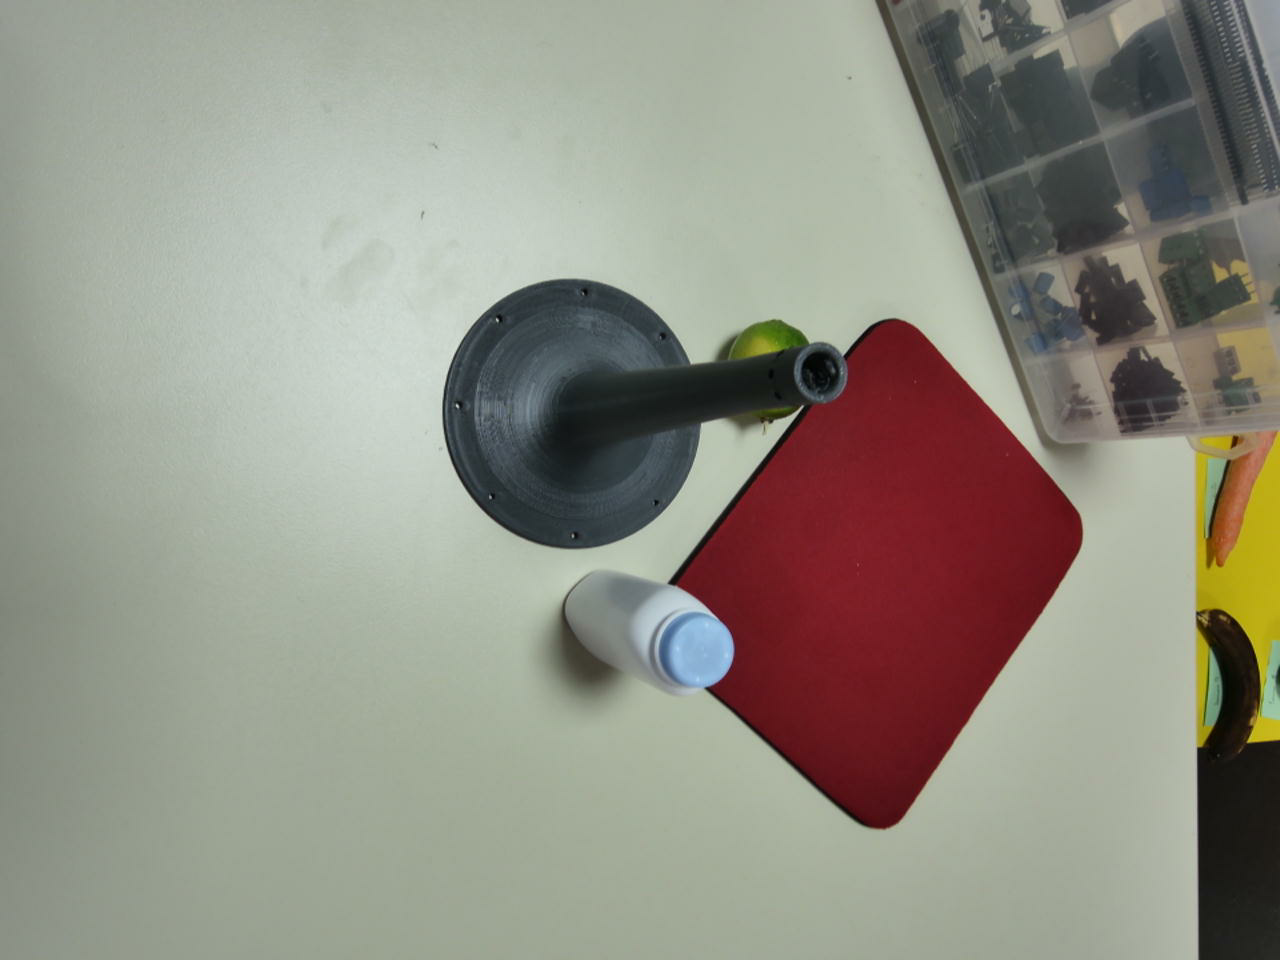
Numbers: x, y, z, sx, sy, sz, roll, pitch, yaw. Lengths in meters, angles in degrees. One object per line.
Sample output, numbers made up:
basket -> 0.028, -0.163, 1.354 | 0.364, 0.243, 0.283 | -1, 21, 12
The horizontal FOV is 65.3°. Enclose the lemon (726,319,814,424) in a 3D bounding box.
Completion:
lemon -> 0.076, -0.064, 0.583 | 0.055, 0.050, 0.054 | -42, 105, -16
